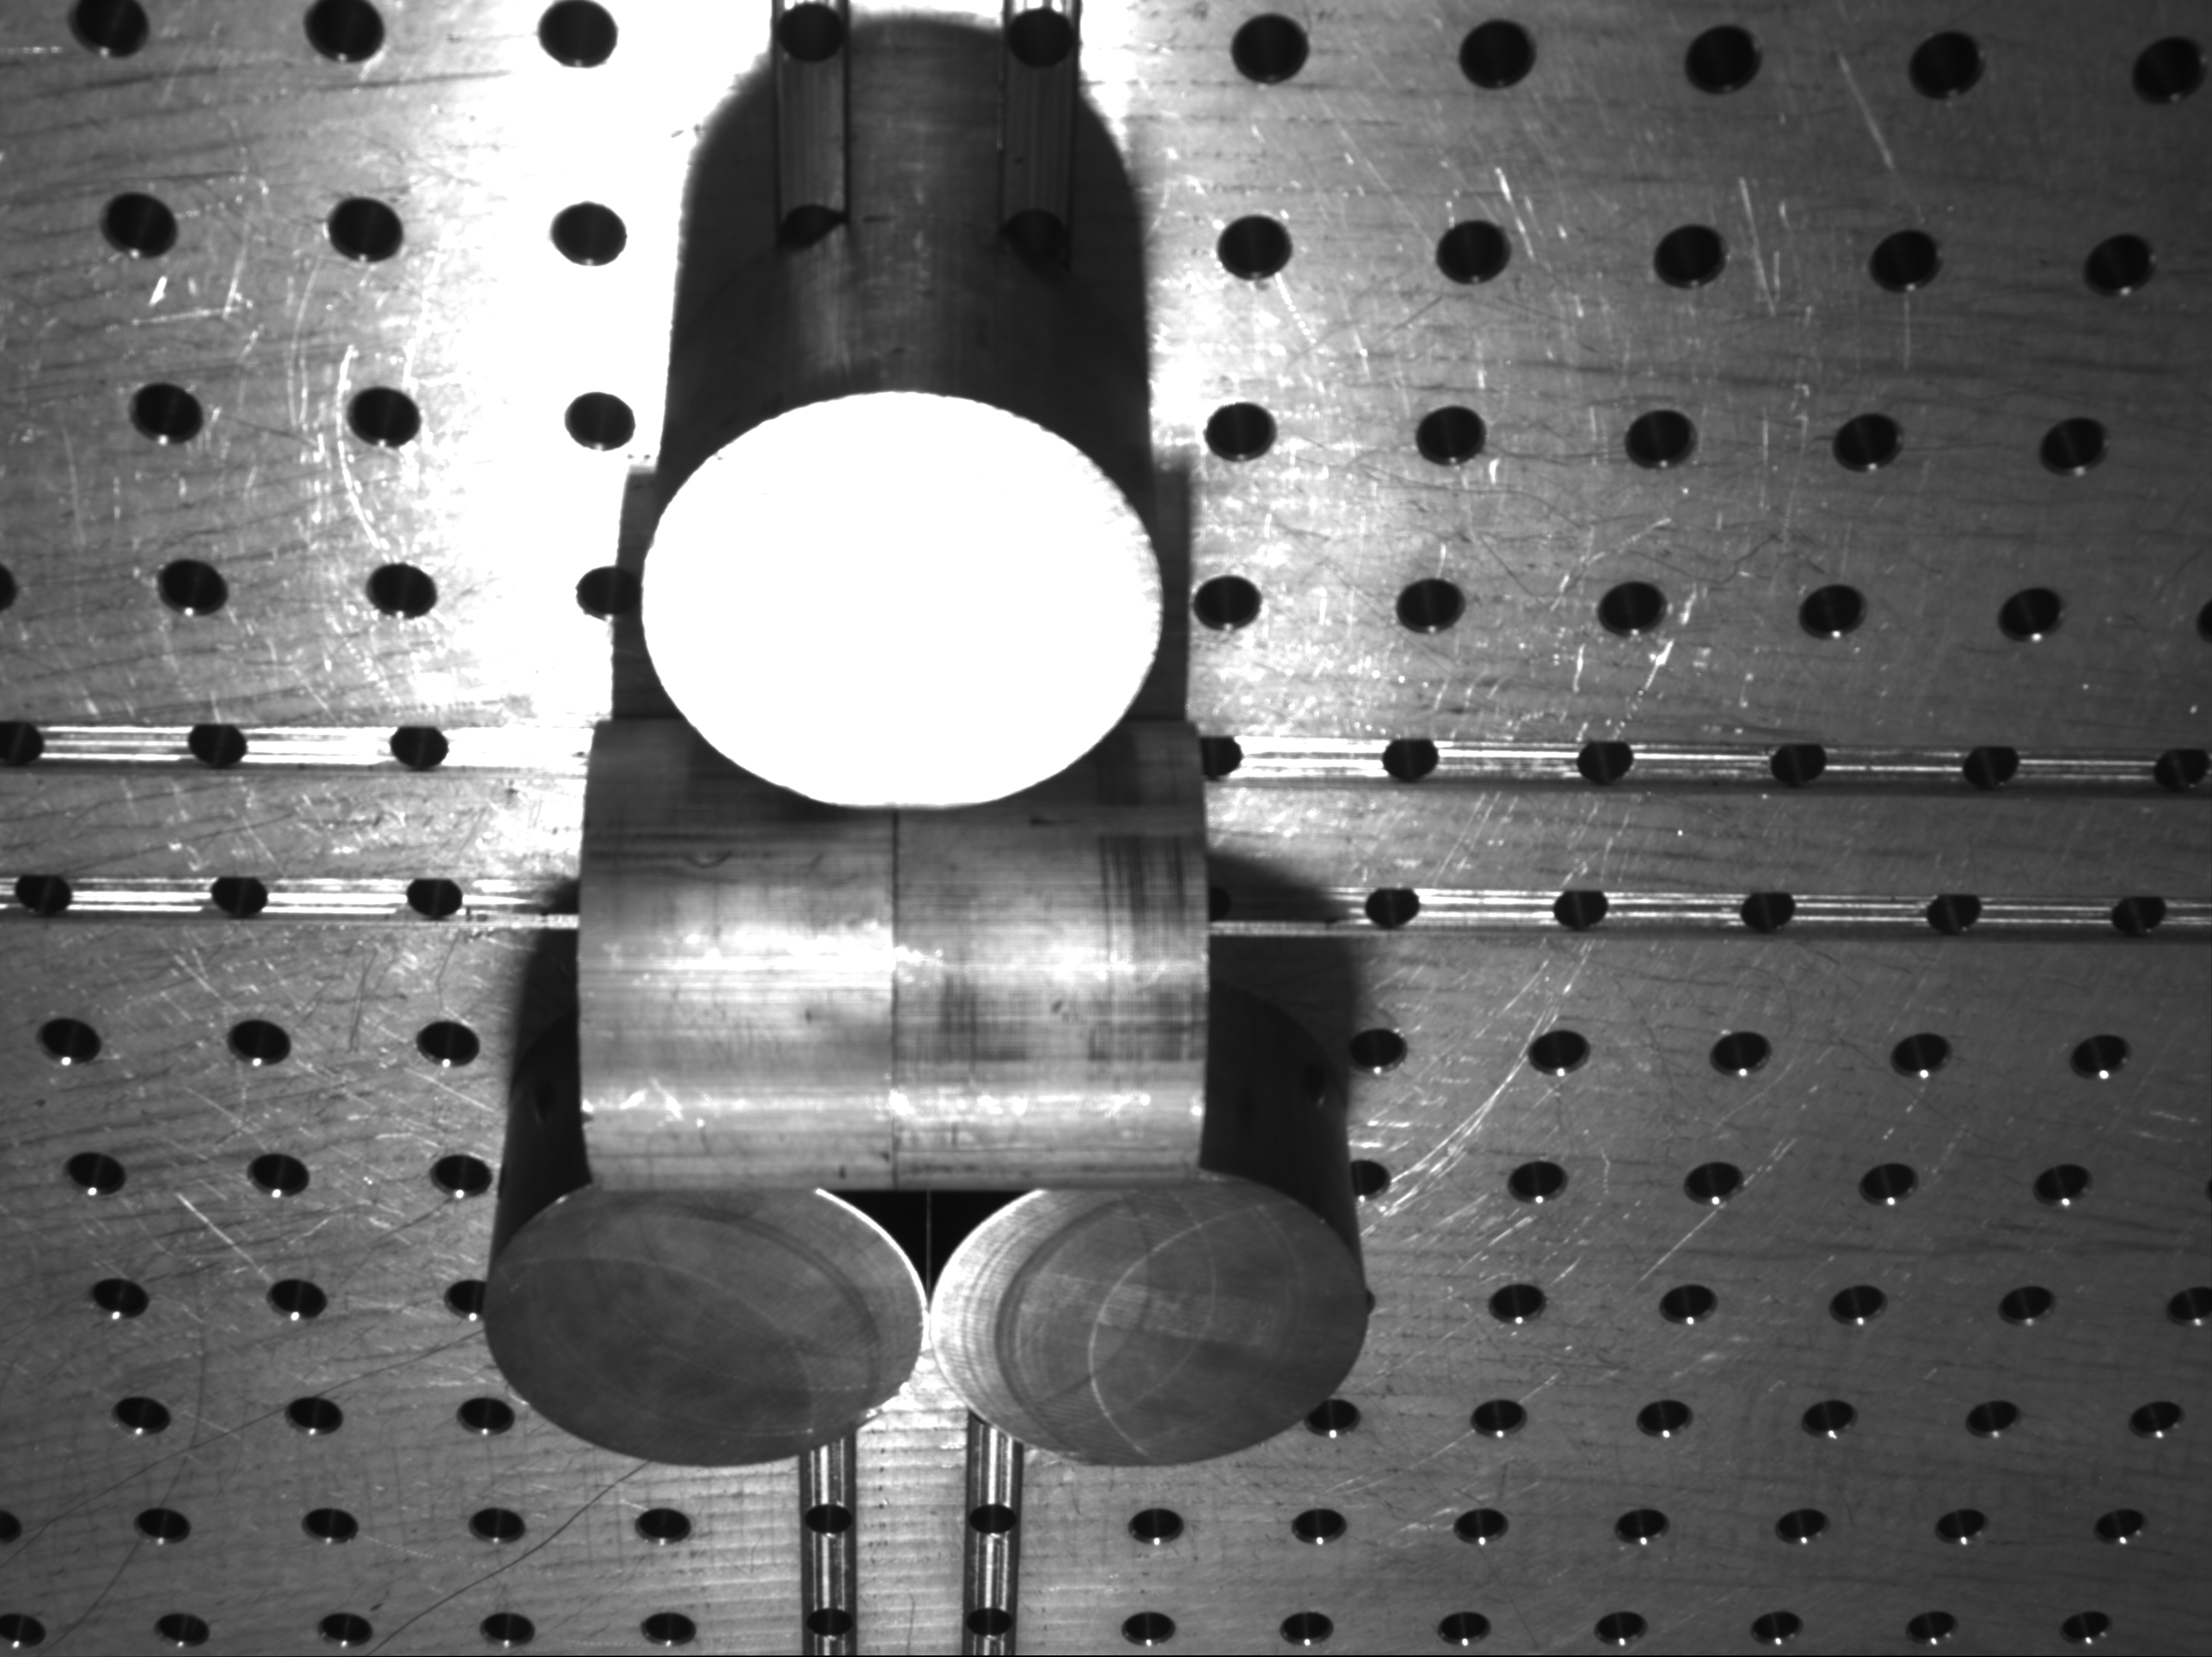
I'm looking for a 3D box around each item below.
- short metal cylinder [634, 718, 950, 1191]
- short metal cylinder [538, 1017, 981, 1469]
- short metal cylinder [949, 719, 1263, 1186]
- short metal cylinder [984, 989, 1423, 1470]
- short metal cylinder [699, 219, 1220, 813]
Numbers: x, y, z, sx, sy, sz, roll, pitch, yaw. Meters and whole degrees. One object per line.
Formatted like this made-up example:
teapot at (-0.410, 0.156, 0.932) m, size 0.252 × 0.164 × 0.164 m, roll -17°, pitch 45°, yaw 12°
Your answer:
short metal cylinder at (-0.051, 0.021, 0.622) m, size 0.050 × 0.080 × 0.080 m, roll 0°, pitch 130°, yaw -2°
short metal cylinder at (-0.063, 0.074, 0.684) m, size 0.080 × 0.050 × 0.080 m, roll -1°, pitch 130°, yaw -1°
short metal cylinder at (-0.001, 0.021, 0.624) m, size 0.050 × 0.080 × 0.080 m, roll 0°, pitch 130°, yaw -2°
short metal cylinder at (0.017, 0.075, 0.686) m, size 0.080 × 0.050 × 0.080 m, roll -1°, pitch 130°, yaw -1°
short metal cylinder at (-0.023, -0.049, 0.583) m, size 0.080 × 0.050 × 0.080 m, roll -1°, pitch 130°, yaw -1°
